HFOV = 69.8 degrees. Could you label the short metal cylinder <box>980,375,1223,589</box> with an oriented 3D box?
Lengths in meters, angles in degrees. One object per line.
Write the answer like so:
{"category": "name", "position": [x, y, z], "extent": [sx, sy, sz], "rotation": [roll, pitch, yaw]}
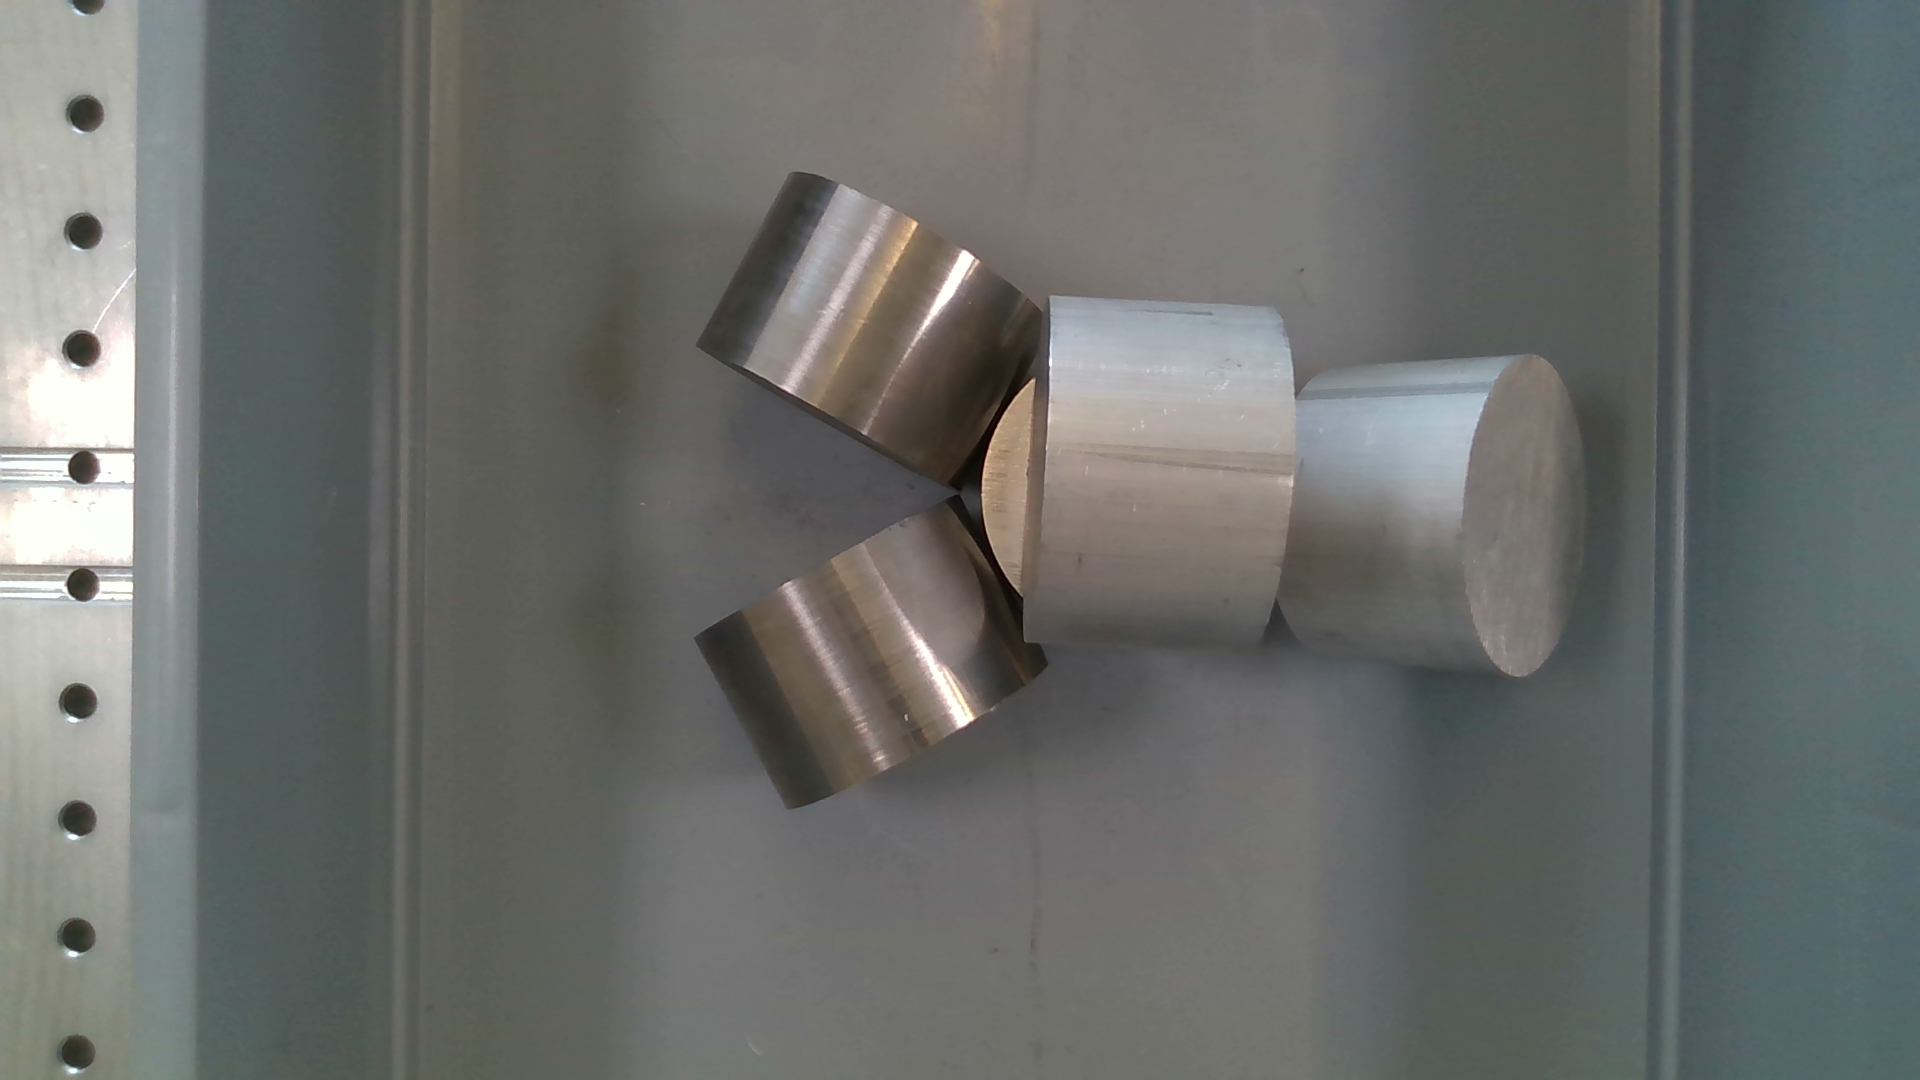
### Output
{"category": "short metal cylinder", "position": [0.045, -0.013, 0.381], "extent": [0.080, 0.050, 0.080], "rotation": [0, 90, 0]}

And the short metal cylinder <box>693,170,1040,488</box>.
{"category": "short metal cylinder", "position": [-0.023, -0.054, 0.366], "extent": [0.080, 0.080, 0.050], "rotation": [29, 90, 0]}

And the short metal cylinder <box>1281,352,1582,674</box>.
{"category": "short metal cylinder", "position": [0.123, -0.008, 0.360], "extent": [0.050, 0.080, 0.080], "rotation": [4, 90, 43]}

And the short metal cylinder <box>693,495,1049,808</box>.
{"category": "short metal cylinder", "position": [-0.024, 0.029, 0.367], "extent": [0.080, 0.080, 0.050], "rotation": [-29, 89, 0]}

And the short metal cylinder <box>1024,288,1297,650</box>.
{"category": "short metal cylinder", "position": [0.043, -0.016, 0.316], "extent": [0.050, 0.080, 0.080], "rotation": [3, 90, 0]}
